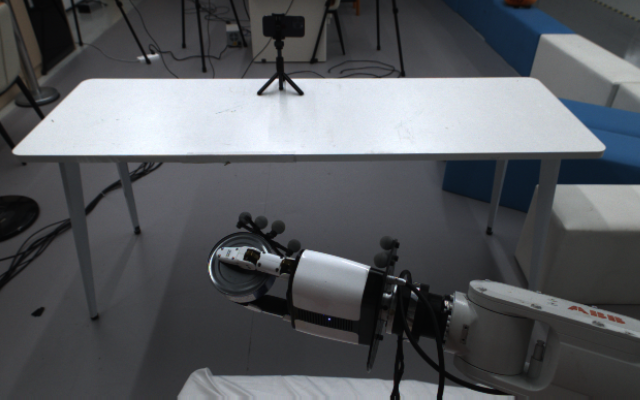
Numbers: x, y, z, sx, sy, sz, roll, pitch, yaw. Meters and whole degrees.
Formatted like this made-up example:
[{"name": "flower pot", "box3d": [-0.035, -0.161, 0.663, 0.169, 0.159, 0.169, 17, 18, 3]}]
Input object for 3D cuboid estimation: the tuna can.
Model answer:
[{"name": "tuna can", "box3d": [-0.097, 0.086, 0.616, 0.085, 0.034, 0.085, -2, 60, 3]}]
